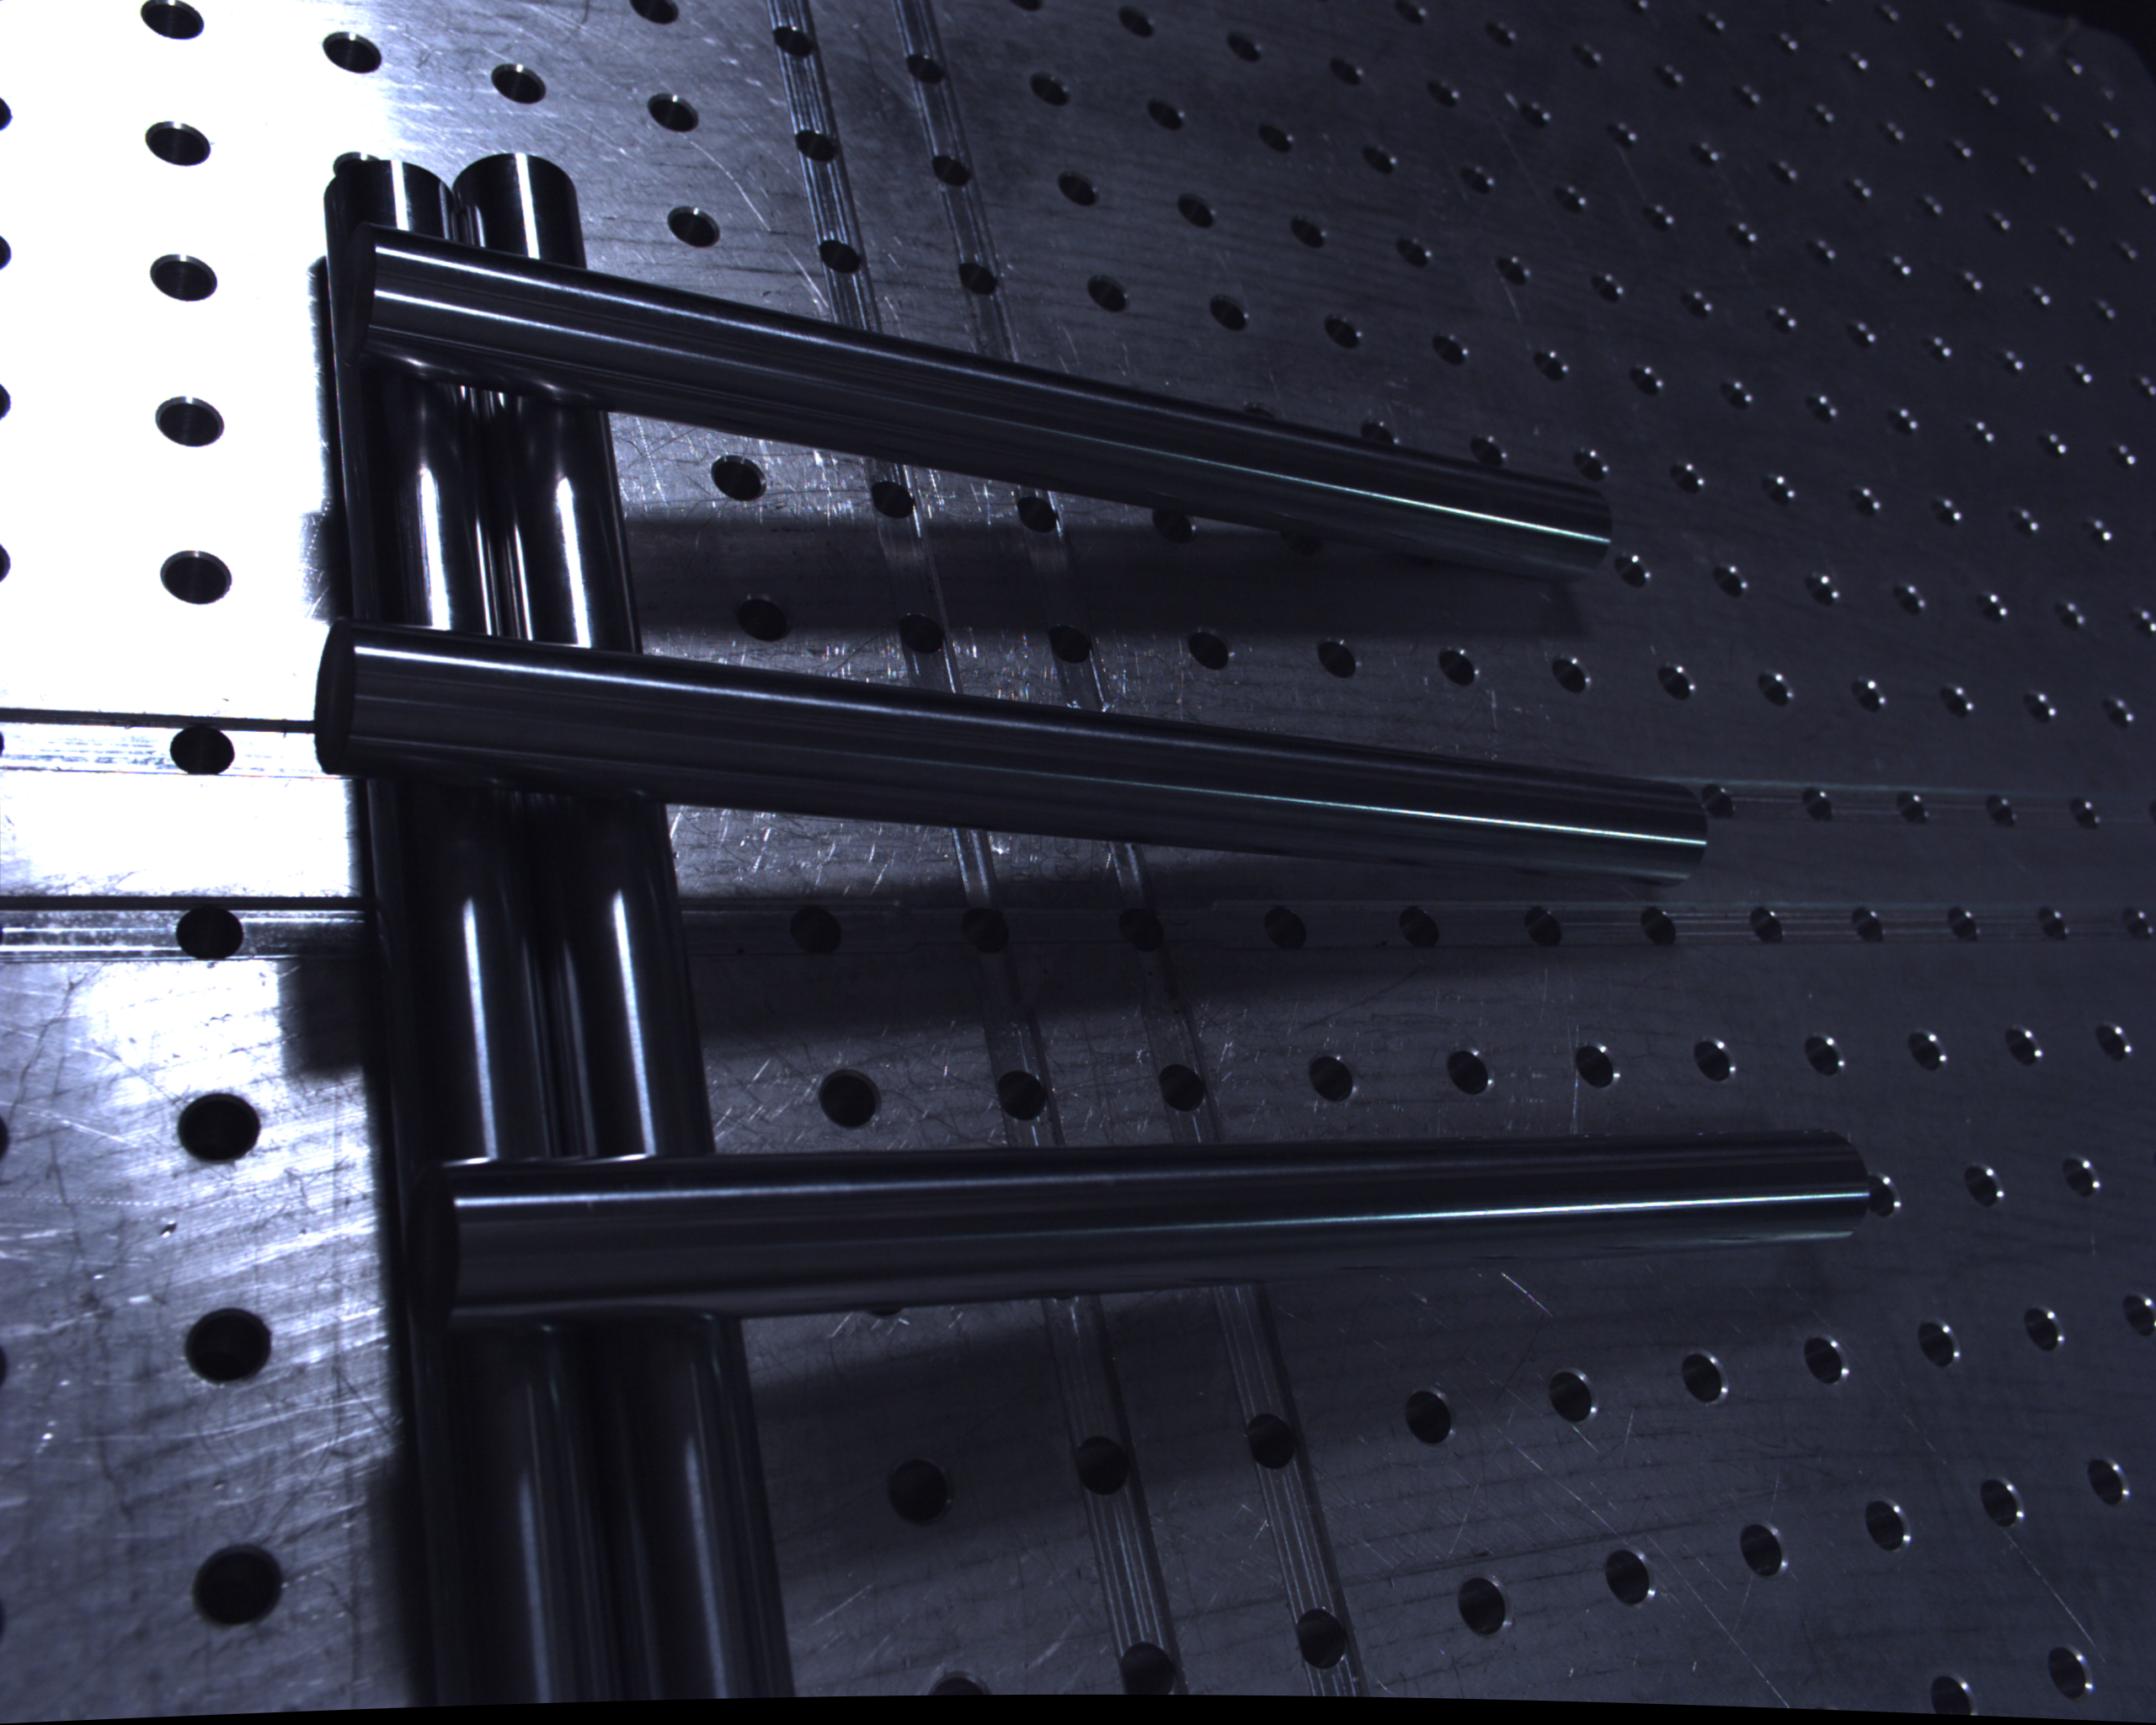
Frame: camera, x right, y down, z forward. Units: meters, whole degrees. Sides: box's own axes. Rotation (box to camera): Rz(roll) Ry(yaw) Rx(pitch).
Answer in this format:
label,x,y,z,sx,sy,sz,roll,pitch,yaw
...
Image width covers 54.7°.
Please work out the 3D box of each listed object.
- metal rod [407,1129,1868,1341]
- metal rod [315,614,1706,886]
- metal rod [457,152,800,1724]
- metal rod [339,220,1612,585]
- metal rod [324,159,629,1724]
label,x,y,z,sx,sy,sz,roll,pitch,yaw
metal rod,0.036,0.062,0.373,0.302,0.025,0.025,4,60,-34
metal rod,0.011,-0.016,0.406,0.302,0.025,0.025,5,60,-33
metal rod,-0.084,-0.005,0.366,0.025,0.025,0.299,1,61,-28
metal rod,0.000,-0.091,0.447,0.302,0.025,0.025,4,60,-33
metal rod,-0.105,0.001,0.351,0.025,0.025,0.299,1,61,-28
